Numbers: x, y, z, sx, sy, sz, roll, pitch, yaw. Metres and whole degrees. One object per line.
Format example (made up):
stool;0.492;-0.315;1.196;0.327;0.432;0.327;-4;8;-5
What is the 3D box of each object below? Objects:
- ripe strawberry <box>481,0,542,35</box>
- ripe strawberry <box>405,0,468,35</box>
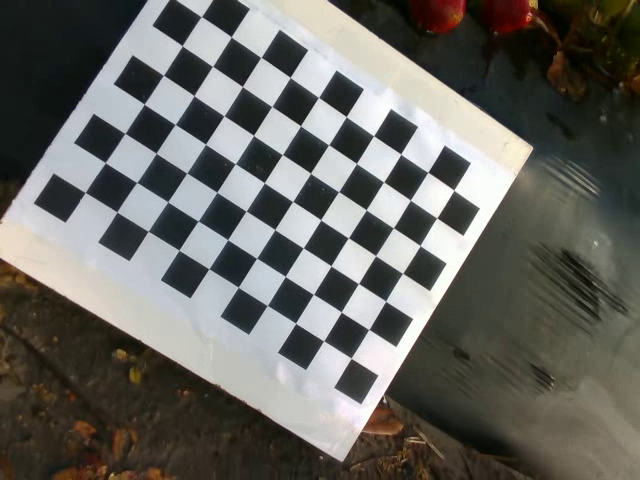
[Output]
ripe strawberry;0.166;-0.199;0.548;0.045;0.041;0.055;-31;42;-8
ripe strawberry;0.098;-0.188;0.496;0.050;0.049;0.065;-7;35;-7
